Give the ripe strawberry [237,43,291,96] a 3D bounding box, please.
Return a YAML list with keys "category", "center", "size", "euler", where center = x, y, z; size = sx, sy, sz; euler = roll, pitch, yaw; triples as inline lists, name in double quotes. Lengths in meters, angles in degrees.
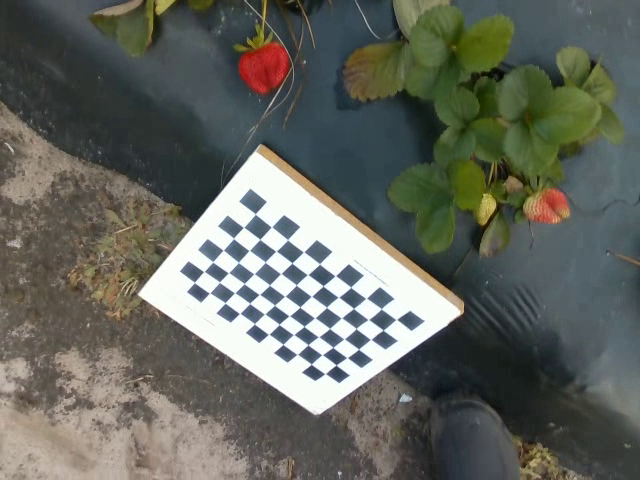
- category: "ripe strawberry"
  center: [-0.016, -0.044, 0.172]
  size: [0.017, 0.015, 0.013]
  euler: [-19, -17, 27]
